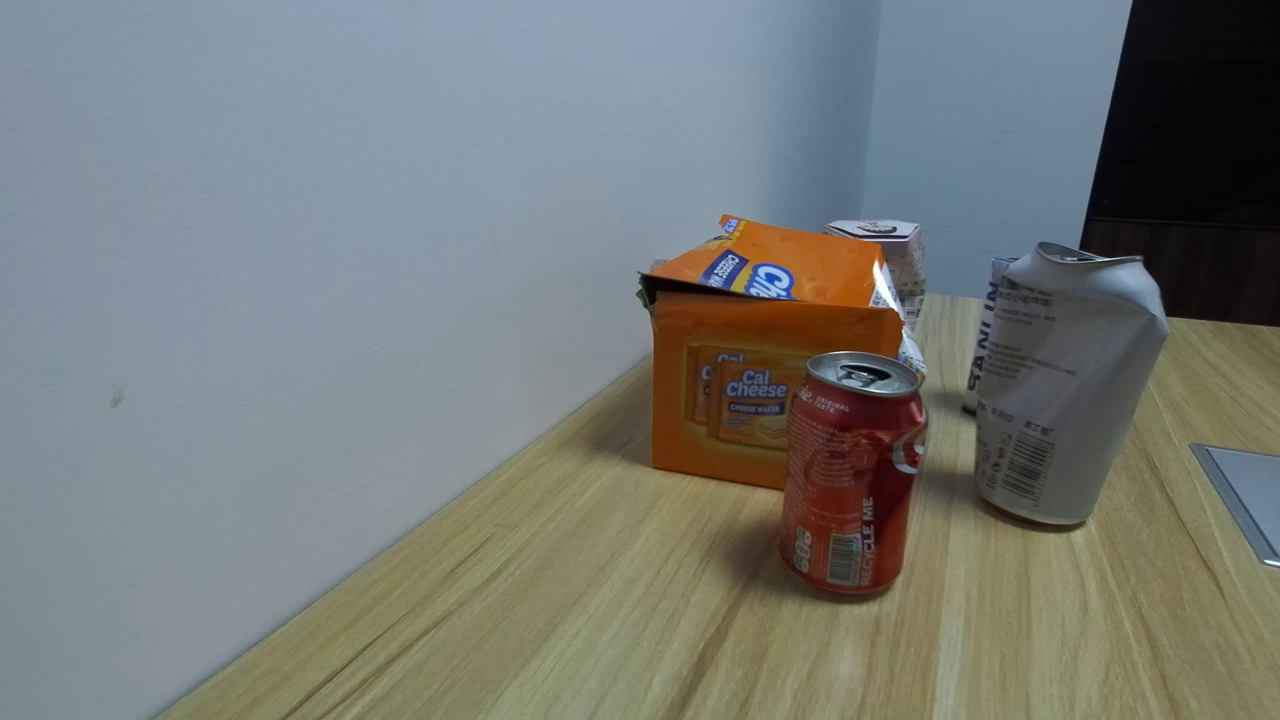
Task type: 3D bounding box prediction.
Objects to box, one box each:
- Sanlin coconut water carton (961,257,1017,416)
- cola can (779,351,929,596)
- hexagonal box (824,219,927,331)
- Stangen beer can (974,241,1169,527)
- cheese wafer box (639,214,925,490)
[{"bbox_3d":[0.300,-0.020,0.547,0.058,0.142,0.077,-6,22,-27],"label":"Sanlin coconut water carton"},{"bbox_3d":[0.108,0.056,0.362,0.066,0.117,0.066,-6,21,-19],"label":"cola can"},{"bbox_3d":[0.219,-0.062,0.676,0.090,0.134,0.090,19,32,40],"label":"hexagonal box"},{"bbox_3d":[0.248,0.016,0.418,0.077,0.162,0.066,6,21,14],"label":"Stangen beer can"},{"bbox_3d":[0.119,-0.017,0.533,0.191,0.145,0.219,7,21,17],"label":"cheese wafer box"}]
